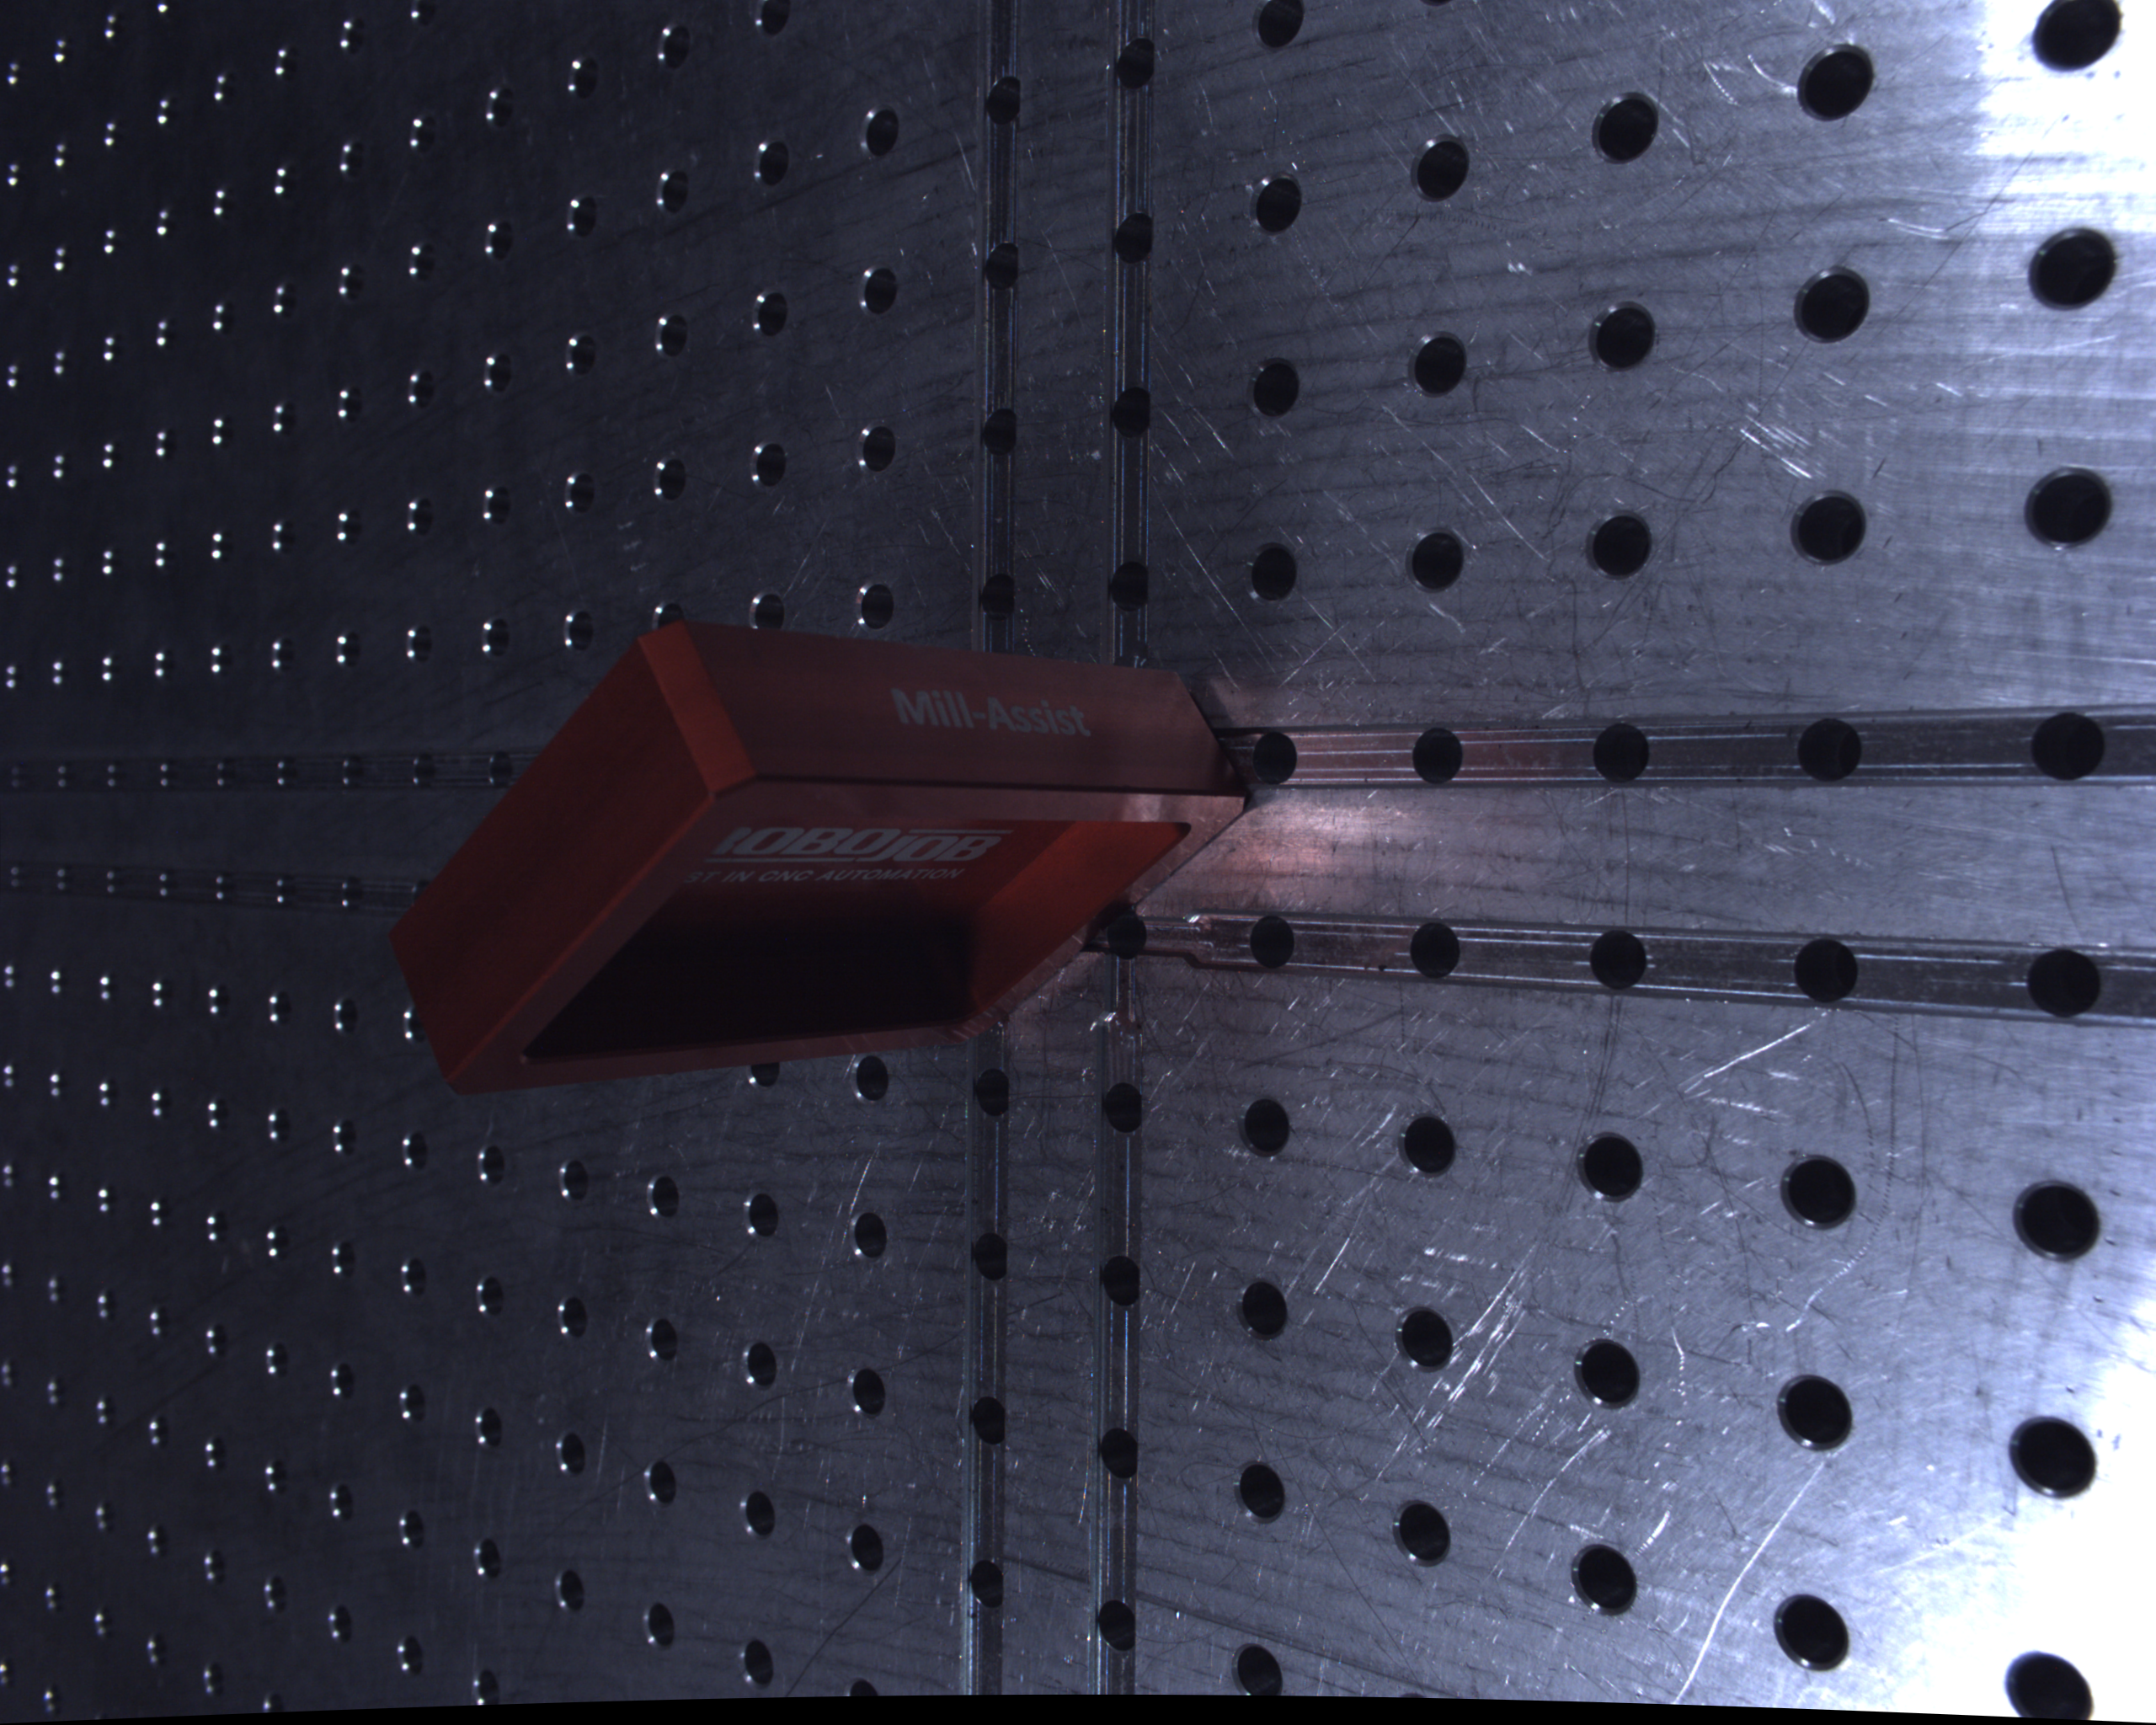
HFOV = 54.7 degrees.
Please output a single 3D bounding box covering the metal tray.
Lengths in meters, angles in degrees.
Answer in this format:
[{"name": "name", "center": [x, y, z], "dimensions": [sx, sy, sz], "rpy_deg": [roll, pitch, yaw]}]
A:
[{"name": "metal tray", "center": [-0.042, 0.001, 0.373], "dimensions": [0.090, 0.131, 0.030], "rpy_deg": [-42, 65, 32]}]
